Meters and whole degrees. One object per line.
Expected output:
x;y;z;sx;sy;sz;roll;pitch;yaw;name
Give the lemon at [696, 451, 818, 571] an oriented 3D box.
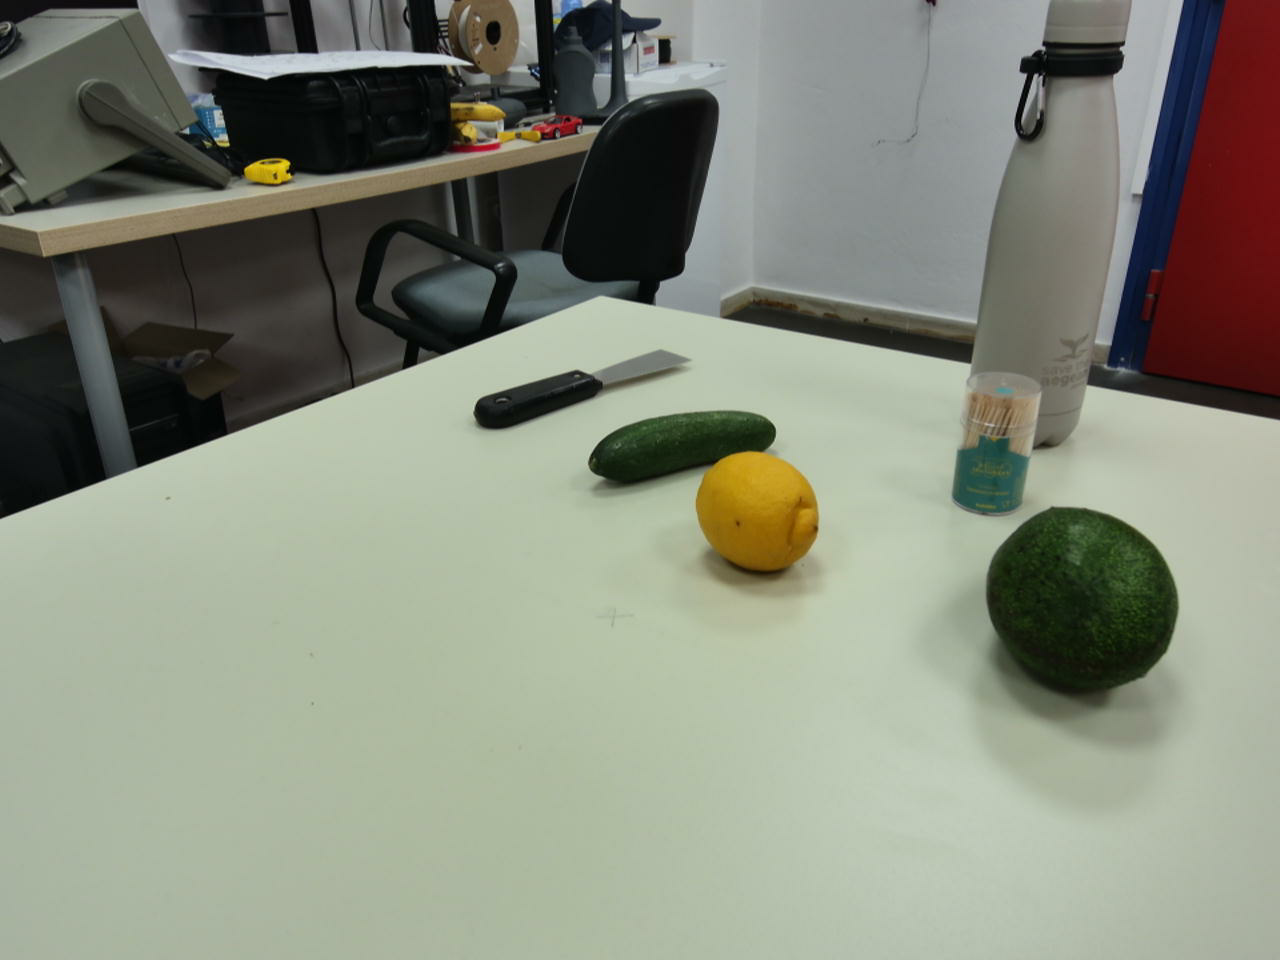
0.061;0.017;0.522;0.061;0.059;0.067;-4;25;-10;lemon
